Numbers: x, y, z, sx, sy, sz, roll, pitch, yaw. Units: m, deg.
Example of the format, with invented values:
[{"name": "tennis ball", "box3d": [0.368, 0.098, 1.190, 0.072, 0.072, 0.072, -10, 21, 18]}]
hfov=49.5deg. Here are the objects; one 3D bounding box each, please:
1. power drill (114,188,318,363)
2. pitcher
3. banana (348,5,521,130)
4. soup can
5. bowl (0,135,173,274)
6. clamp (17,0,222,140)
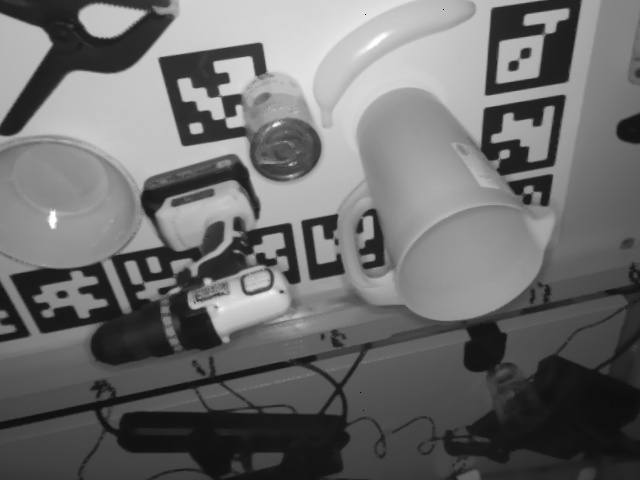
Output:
[{"name": "power drill", "box3d": [-0.103, 0.032, 0.676, 0.185, 0.187, 0.057, -13, 128, -2]}, {"name": "pitcher", "box3d": [0.129, -0.032, 0.675, 0.188, 0.243, 0.133, -29, 131, 9]}, {"name": "banana", "box3d": [0.104, -0.183, 0.689, 0.196, 0.039, 0.074, -30, 136, 11]}, {"name": "soup can", "box3d": [-0.007, -0.102, 0.679, 0.068, 0.102, 0.067, -9, 136, -8]}, {"name": "bowl", "box3d": [-0.231, -0.044, 0.694, 0.163, 0.055, 0.160, -7, 126, -9]}, {"name": "clamp", "box3d": [-0.187, -0.180, 0.607, 0.203, 0.037, 0.164, -12, 124, -5]}]
